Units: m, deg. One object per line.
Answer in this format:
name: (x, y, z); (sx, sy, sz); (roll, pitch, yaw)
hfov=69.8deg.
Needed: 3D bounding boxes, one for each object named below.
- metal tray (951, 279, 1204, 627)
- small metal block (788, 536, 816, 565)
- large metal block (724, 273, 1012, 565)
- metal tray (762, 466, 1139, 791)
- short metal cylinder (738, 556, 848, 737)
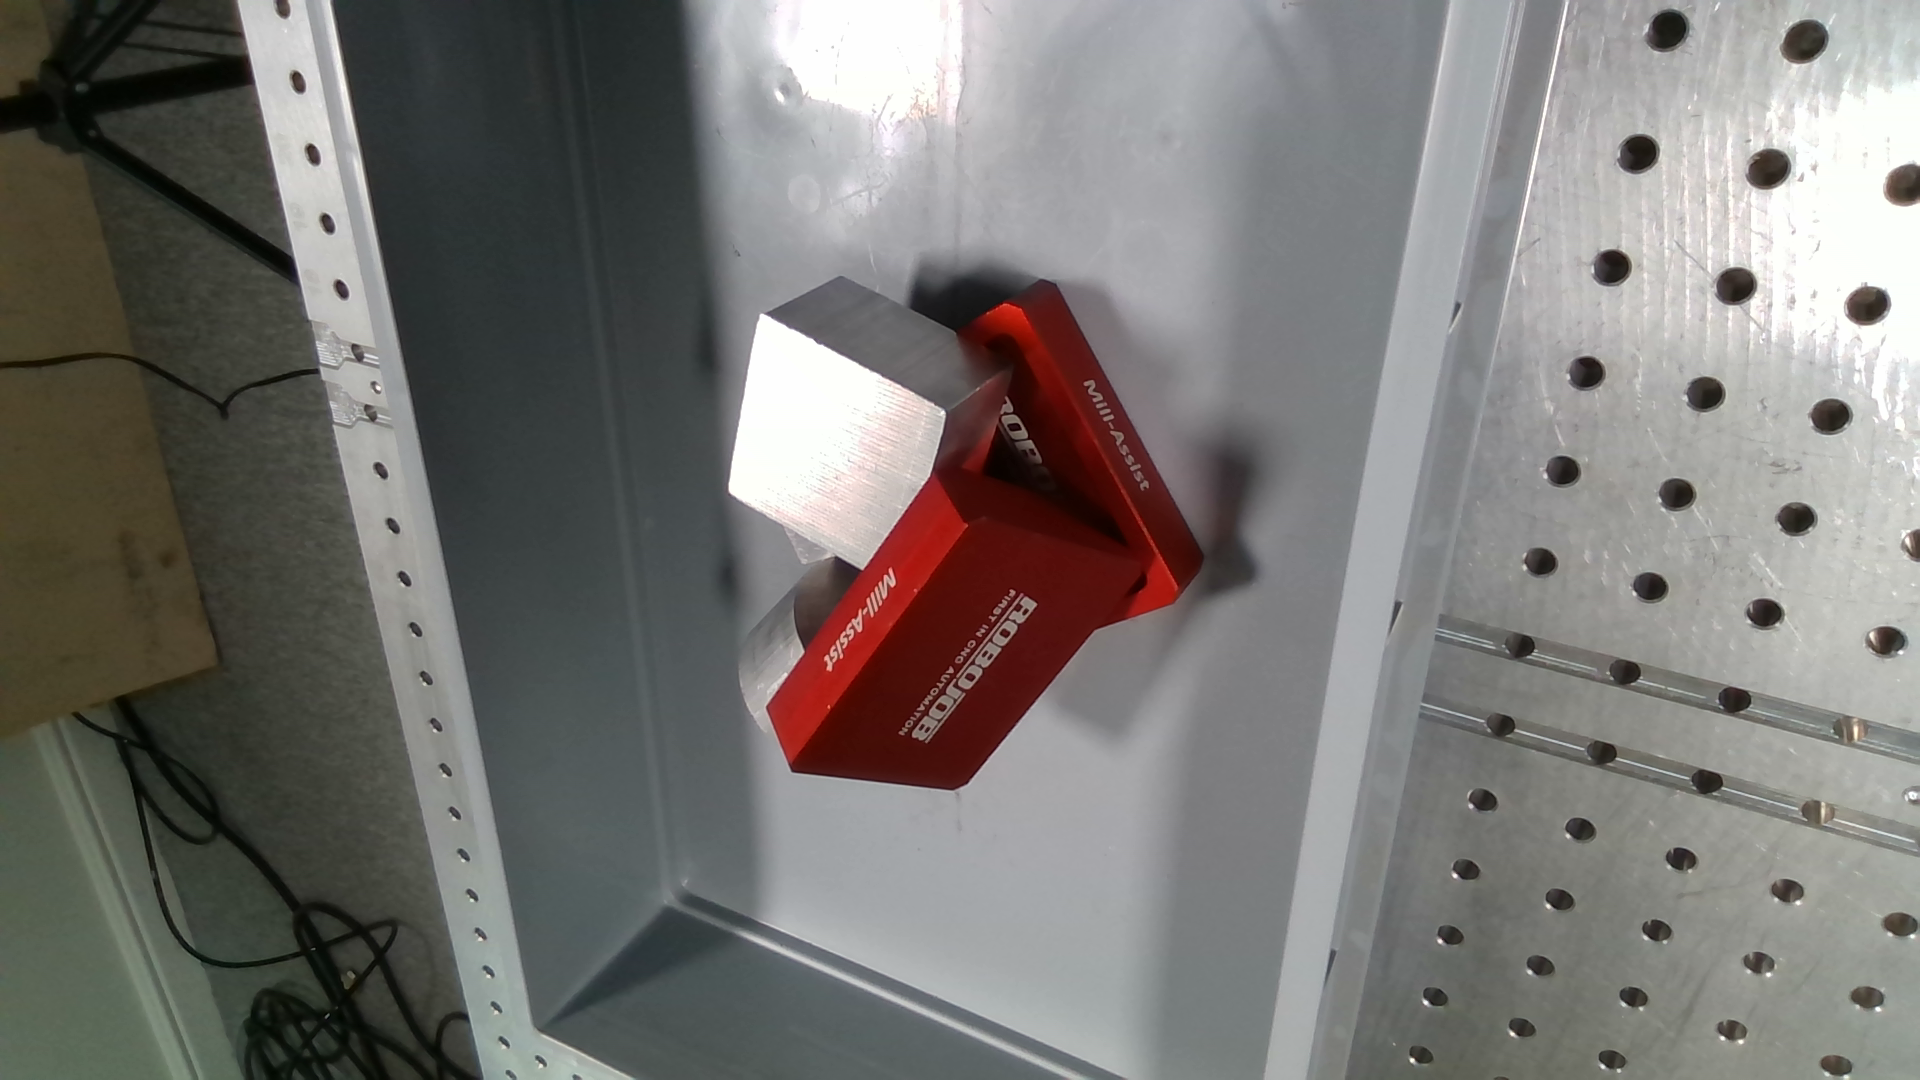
metal tray: (0.026, -0.025, 0.545); (0.090, 0.030, 0.130); (-23, 102, 38)
small metal block: (-0.056, -0.022, 0.601); (0.050, 0.025, 0.050); (-17, 106, 37)
large metal block: (-0.036, -0.042, 0.520); (0.080, 0.050, 0.080); (29, 127, 15)
metal tray: (-0.004, 0.039, 0.523); (0.130, 0.090, 0.030); (-53, 44, 25)
short metal cylinder: (-0.050, 0.054, 0.604); (0.080, 0.080, 0.050); (47, 129, 1)
